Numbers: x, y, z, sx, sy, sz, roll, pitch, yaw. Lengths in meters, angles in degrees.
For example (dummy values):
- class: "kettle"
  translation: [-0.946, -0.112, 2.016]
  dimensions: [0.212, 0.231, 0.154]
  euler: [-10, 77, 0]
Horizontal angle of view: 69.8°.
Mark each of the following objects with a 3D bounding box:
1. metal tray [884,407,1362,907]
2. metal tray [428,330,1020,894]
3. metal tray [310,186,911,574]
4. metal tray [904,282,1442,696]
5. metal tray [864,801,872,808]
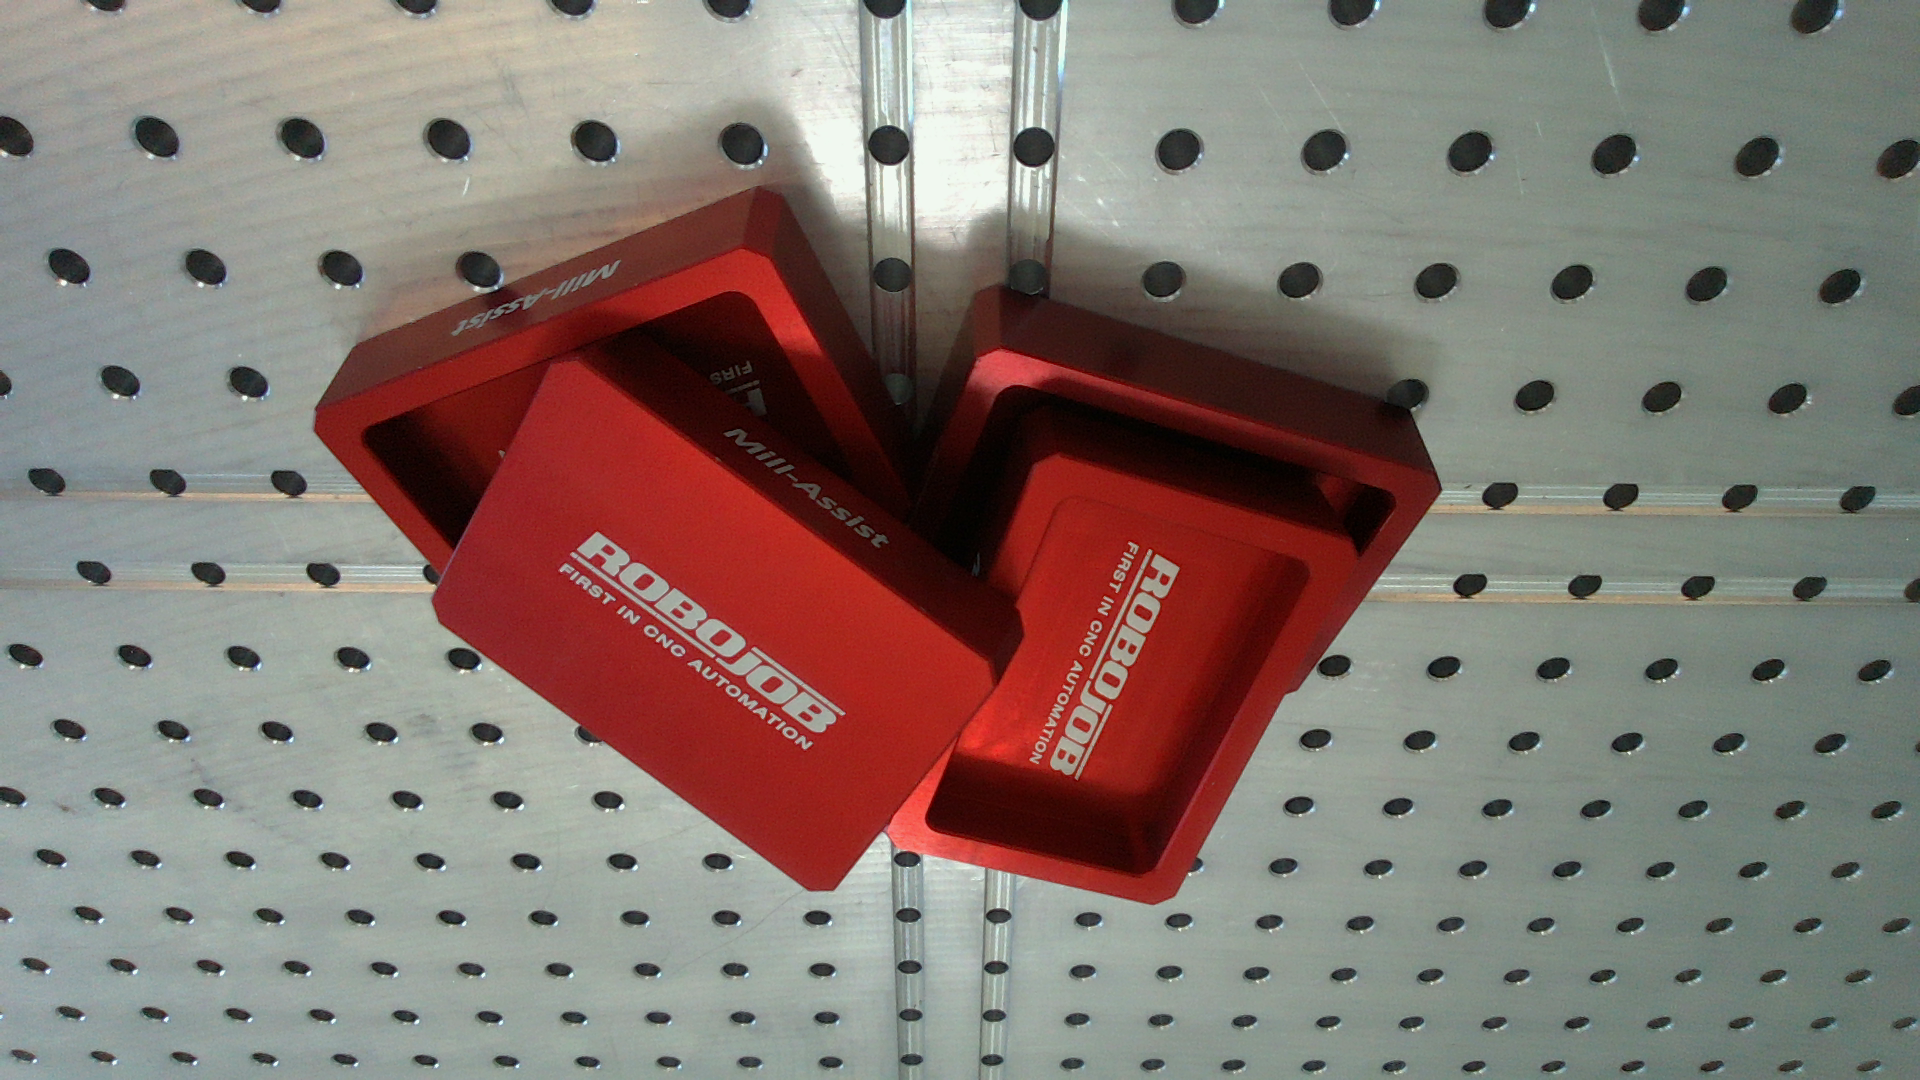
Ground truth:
- class: "metal tray"
  translation: [0.040, 0.037, 0.381]
  dimensions: [0.090, 0.030, 0.130]
  euler: [15, 117, -13]
- class: "metal tray"
  translation: [-0.061, 0.020, 0.353]
  dimensions: [0.130, 0.030, 0.090]
  euler: [36, 116, -1]
- class: "metal tray"
  translation: [-0.089, -0.028, 0.366]
  dimensions: [0.130, 0.030, 0.090]
  euler: [-17, 128, 14]
- class: "metal tray"
  translation: [0.052, -0.009, 0.381]
  dimensions: [0.130, 0.030, 0.090]
  euler: [15, 128, -12]
- class: "metal tray"
  translation: [-0.016, 0.052, 0.434]
  dimensions: [0.130, 0.030, 0.090]
  euler: [21, 127, -17]
